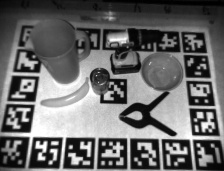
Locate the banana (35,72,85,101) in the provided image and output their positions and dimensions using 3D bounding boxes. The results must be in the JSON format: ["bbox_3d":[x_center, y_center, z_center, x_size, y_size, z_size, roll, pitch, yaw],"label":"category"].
[{"bbox_3d":[-0.179,0.015,0.794,0.198,0.039,0.073,-22,65,-11],"label":"banana"}]

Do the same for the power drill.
[{"bbox_3d":[0.068,-0.148,0.758,0.185,0.187,0.057,-3,71,-3],"label":"power drill"}]

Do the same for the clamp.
[{"bbox_3d":[0.110,0.086,0.773,0.203,0.037,0.165,0,75,-2],"label":"clamp"}]

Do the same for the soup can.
[{"bbox_3d":[-0.053,-0.039,0.783,0.068,0.102,0.067,1,63,0],"label":"soup can"}]

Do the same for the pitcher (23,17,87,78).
[{"bbox_3d":[-0.172,-0.126,0.732,0.189,0.243,0.132,-21,70,-8],"label":"pitcher"}]

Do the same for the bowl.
[{"bbox_3d":[0.175,-0.062,0.822,0.162,0.055,0.161,1,73,-1],"label":"bowl"}]
